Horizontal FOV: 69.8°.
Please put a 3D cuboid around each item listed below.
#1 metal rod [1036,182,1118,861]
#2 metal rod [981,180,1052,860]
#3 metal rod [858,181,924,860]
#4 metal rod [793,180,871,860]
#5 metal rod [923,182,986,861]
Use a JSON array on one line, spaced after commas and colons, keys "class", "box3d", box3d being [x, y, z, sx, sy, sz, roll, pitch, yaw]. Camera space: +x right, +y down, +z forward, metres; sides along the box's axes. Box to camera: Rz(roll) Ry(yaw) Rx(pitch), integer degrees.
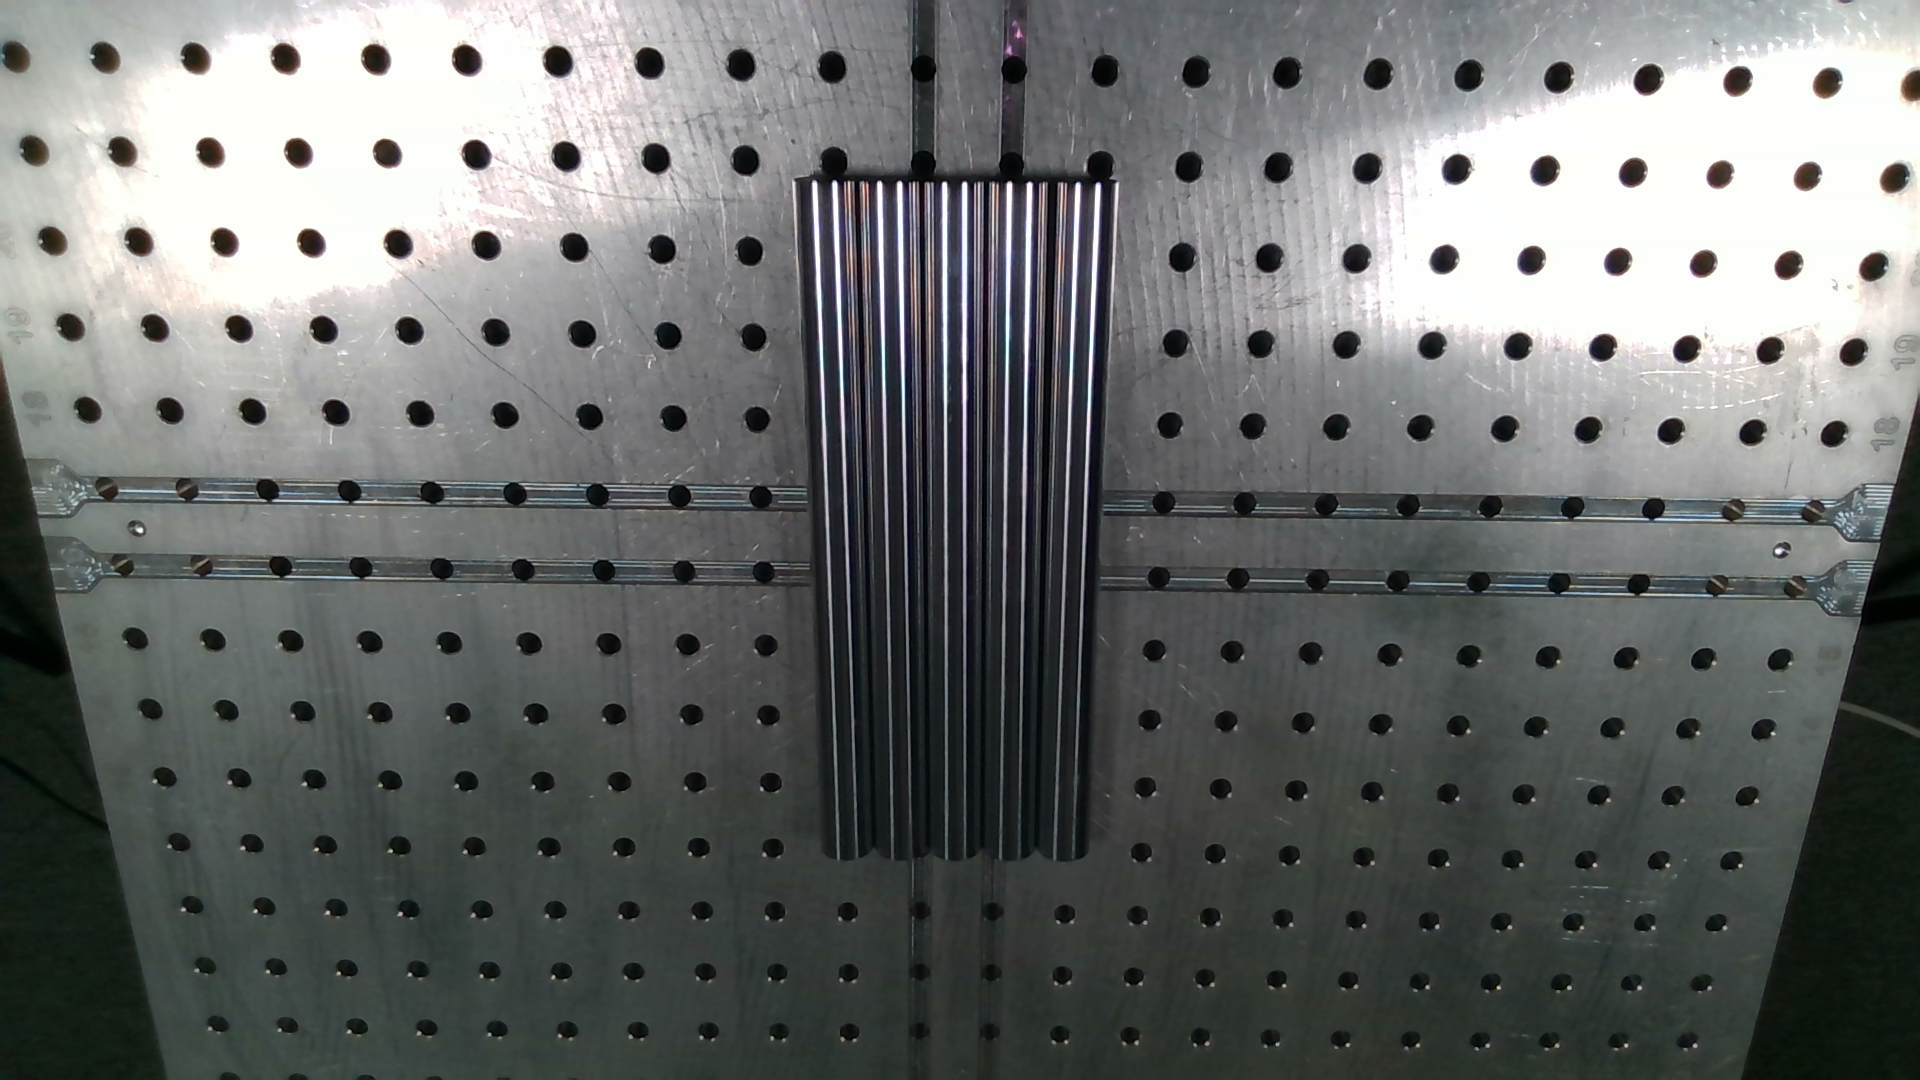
[{"class": "metal rod", "box3d": [0.048, 0.001, 0.588, 0.025, 0.025, 0.301, 0, 110, 0]}, {"class": "metal rod", "box3d": [0.023, 0.001, 0.587, 0.025, 0.025, 0.301, 0, 110, 0]}, {"class": "metal rod", "box3d": [-0.028, 0.001, 0.587, 0.025, 0.025, 0.301, 0, 110, 0]}, {"class": "metal rod", "box3d": [-0.052, 0.001, 0.587, 0.025, 0.025, 0.301, 0, 110, 0]}, {"class": "metal rod", "box3d": [-0.003, 0.001, 0.587, 0.025, 0.025, 0.301, 0, 110, 0]}]
